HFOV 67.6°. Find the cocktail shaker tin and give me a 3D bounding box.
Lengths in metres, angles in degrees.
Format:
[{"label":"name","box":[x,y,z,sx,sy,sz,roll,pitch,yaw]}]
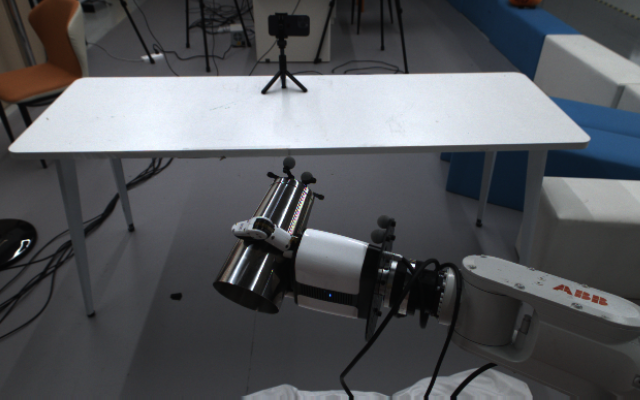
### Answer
[{"label":"cocktail shaker tin","box":[-0.068,0.057,0.653,0.093,0.093,0.170,14,61,17]}]
